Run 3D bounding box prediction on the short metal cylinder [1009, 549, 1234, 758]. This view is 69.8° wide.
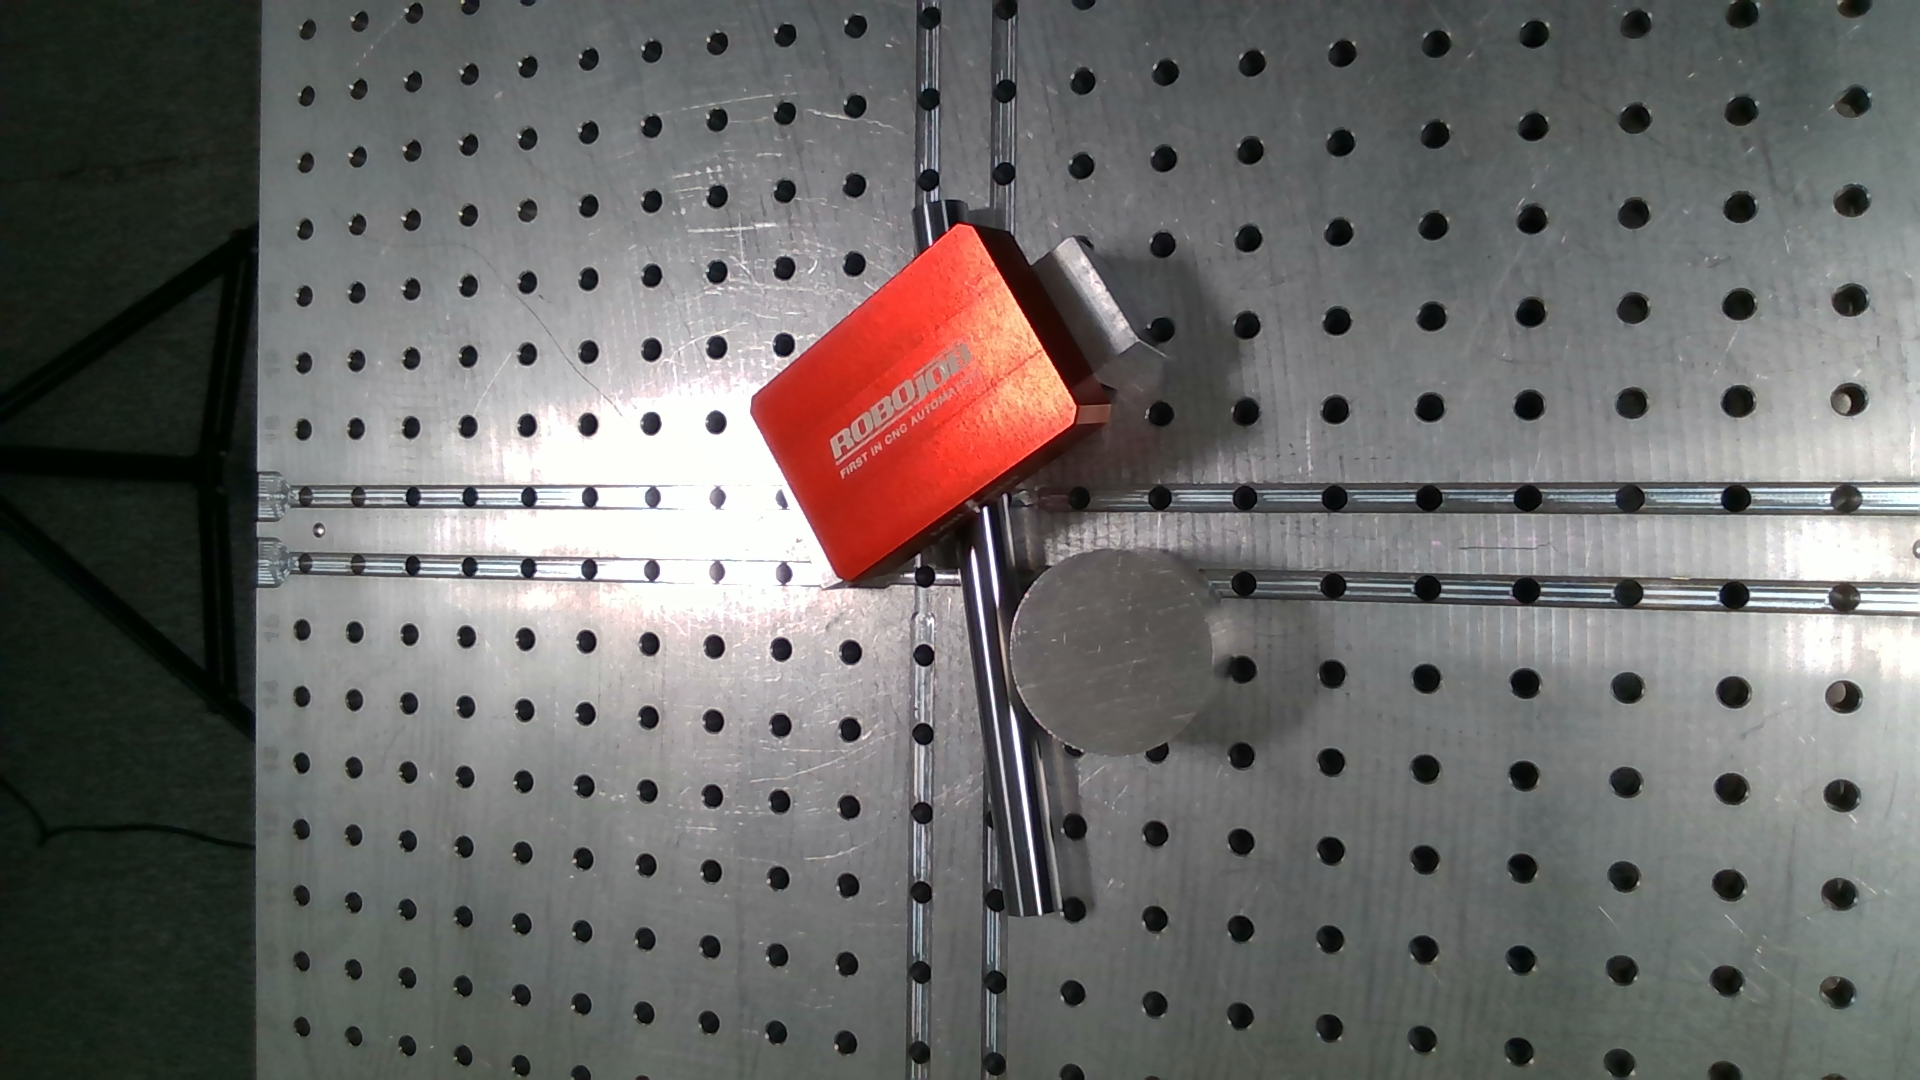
[{"bbox_3d":[0.065,0.043,0.550,0.080,0.050,0.080,0,90,20],"label":"short metal cylinder"}]

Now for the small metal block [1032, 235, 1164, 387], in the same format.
[{"bbox_3d":[0.055,-0.090,0.553,0.025,0.050,0.050,-34,79,17],"label":"small metal block"}]

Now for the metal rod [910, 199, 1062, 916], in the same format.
[{"bbox_3d":[0.011,0.006,0.584,0.025,0.025,0.300,-9,88,20],"label":"metal rod"}]

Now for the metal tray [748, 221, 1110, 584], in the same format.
[{"bbox_3d":[-0.016,-0.052,0.549,0.130,0.030,0.090,-35,78,29],"label":"metal tray"}]

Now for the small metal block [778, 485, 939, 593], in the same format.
[{"bbox_3d":[-0.045,-0.010,0.603,0.050,0.025,0.050,-25,82,19],"label":"small metal block"}]
